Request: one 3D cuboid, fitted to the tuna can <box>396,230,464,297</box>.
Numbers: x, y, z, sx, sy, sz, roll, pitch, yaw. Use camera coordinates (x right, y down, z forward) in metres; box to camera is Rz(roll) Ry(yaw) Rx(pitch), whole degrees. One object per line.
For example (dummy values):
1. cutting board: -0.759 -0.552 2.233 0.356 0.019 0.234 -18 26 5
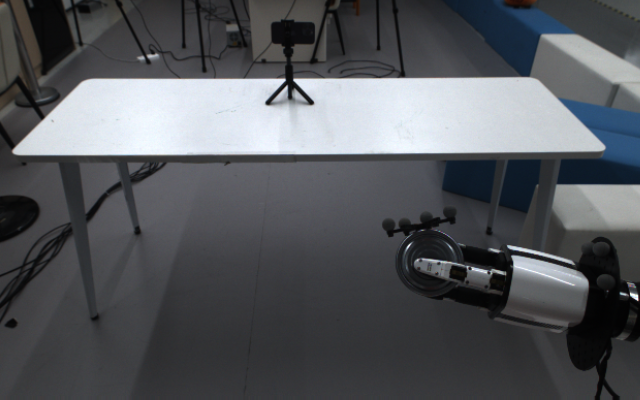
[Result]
1. tuna can: 0.142 0.077 0.617 0.085 0.085 0.034 12 -6 14
